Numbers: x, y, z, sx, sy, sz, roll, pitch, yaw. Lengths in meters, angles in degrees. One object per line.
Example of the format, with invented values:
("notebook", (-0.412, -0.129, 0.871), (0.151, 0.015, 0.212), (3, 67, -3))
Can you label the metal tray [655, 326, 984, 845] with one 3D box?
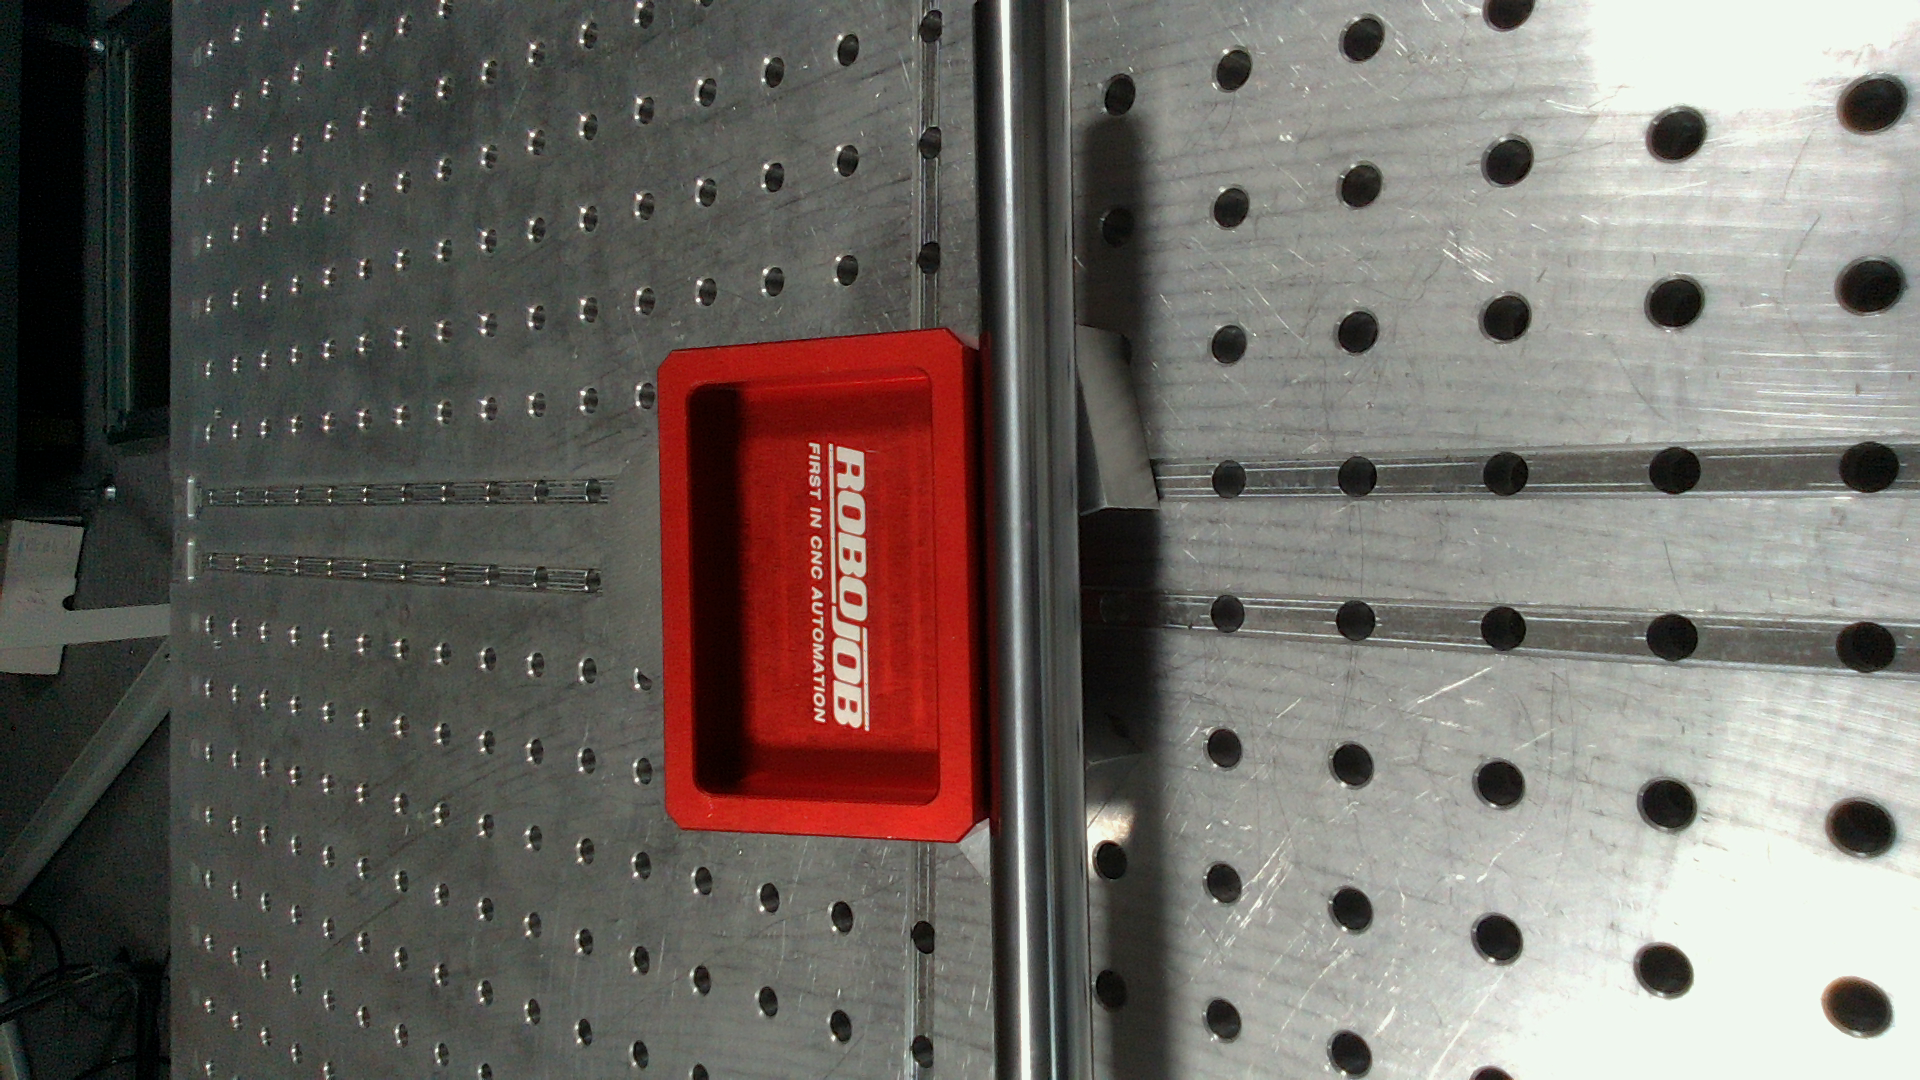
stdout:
("metal tray", (-0.035, 0.012, 0.372), (0.090, 0.030, 0.130), (-2, 89, 20))

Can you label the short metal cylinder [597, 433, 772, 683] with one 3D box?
("short metal cylinder", (-0.071, 0.006, 0.441), (0.080, 0.050, 0.080), (0, 90, 40))

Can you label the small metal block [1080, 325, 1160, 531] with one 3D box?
("small metal block", (0.022, -0.026, 0.380), (0.050, 0.025, 0.050), (-20, 78, 38))

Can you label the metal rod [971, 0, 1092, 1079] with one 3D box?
("metal rod", (0.018, 0.015, 0.349), (0.025, 0.025, 0.300), (-2, 89, 40))

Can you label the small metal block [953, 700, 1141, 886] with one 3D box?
("small metal block", (0.014, 0.062, 0.385), (0.050, 0.025, 0.050), (46, 118, 30))
